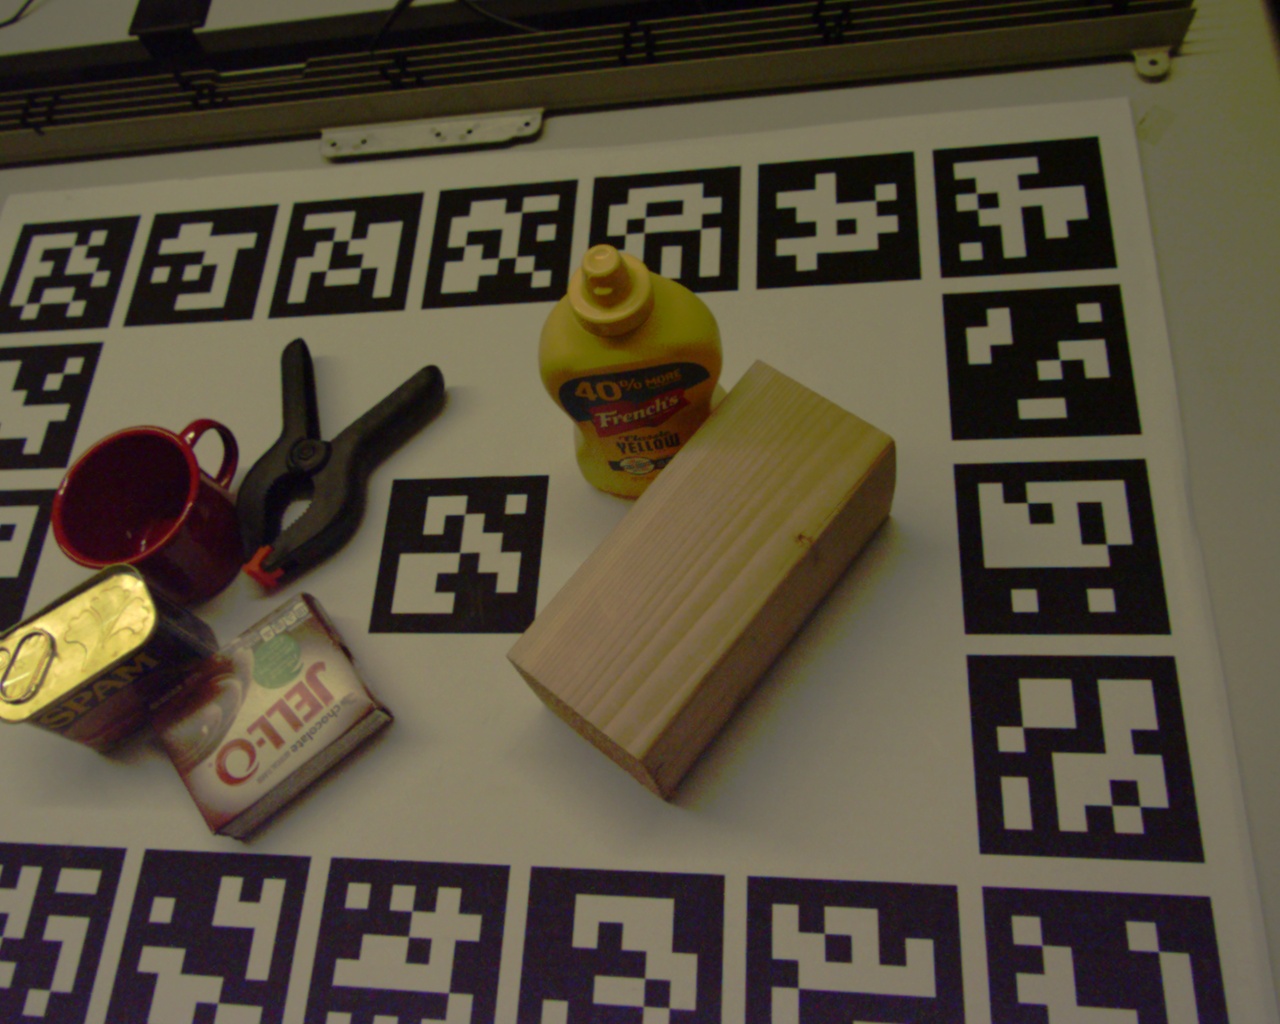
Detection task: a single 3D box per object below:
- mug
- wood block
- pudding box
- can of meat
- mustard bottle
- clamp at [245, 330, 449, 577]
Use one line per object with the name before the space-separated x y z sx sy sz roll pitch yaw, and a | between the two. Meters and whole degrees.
mug | -0.293 0.001 0.746 0.094 0.081 0.117 20 74 19
wood block | 0.033 0.042 0.634 0.091 0.090 0.205 35 75 25
pudding box | -0.214 0.117 0.677 0.113 0.038 0.091 -37 65 -8
can of meat | -0.314 0.089 0.680 0.102 0.083 0.058 -29 65 -2
mustard bottle | -0.012 -0.074 0.634 0.096 0.190 0.058 -6 66 9
clamp | -0.209 -0.036 0.750 0.123 0.036 0.165 18 73 17
